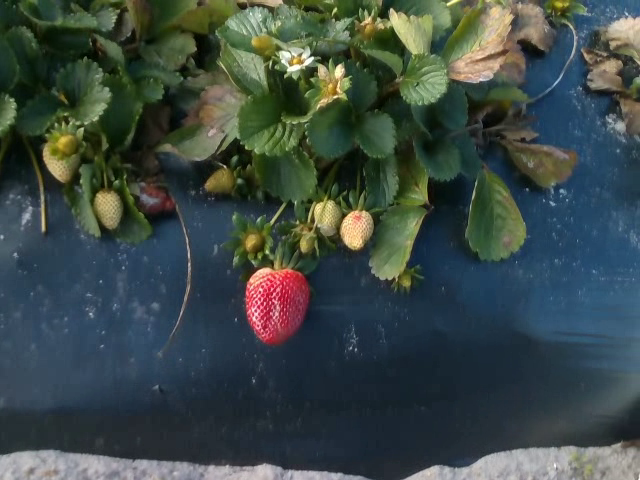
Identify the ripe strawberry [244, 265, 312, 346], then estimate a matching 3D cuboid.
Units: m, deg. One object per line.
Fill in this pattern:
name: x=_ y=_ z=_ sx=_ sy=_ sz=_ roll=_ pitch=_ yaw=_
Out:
ripe strawberry: x=-0.035 y=0.052 z=0.507 sx=0.052 sy=0.068 sz=0.045 roll=5 pitch=-38 yaw=-10
